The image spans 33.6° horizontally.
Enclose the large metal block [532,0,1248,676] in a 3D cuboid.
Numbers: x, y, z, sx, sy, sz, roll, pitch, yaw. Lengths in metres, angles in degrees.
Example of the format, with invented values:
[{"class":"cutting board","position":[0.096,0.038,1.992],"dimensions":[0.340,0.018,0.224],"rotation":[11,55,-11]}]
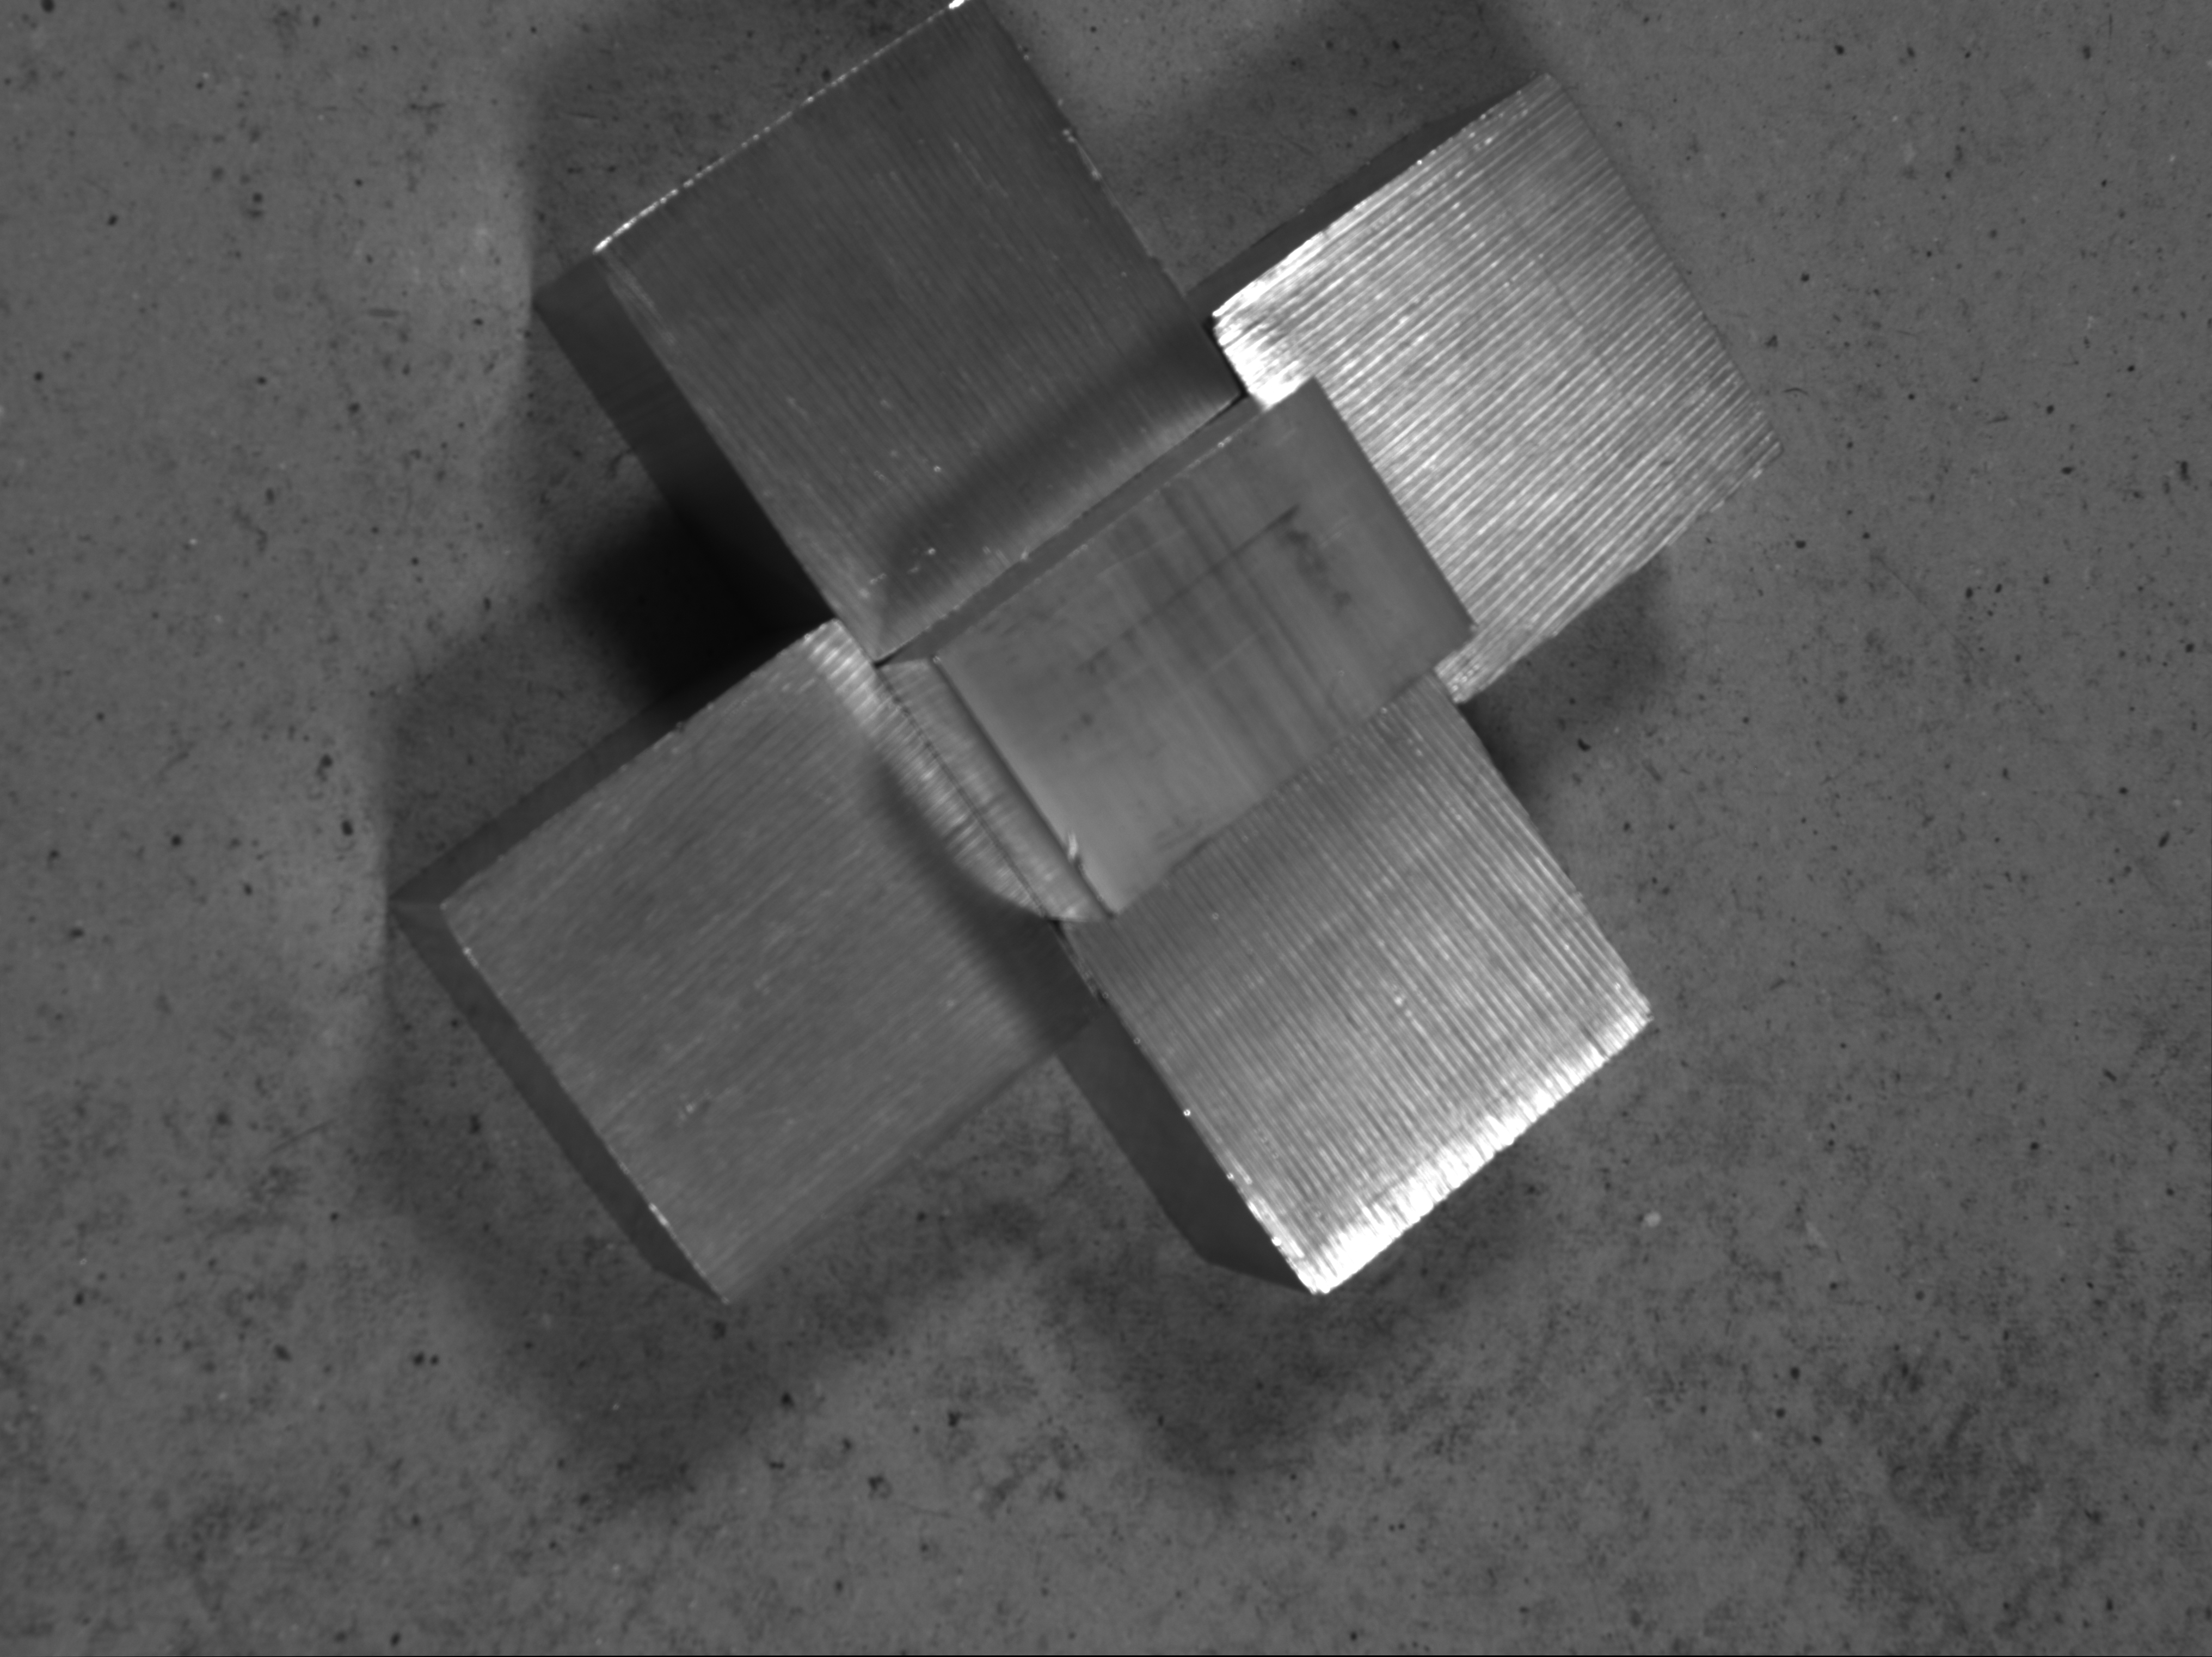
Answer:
[{"class":"large metal block","position":[-0.036,-0.081,0.616],"dimensions":[0.080,0.050,0.080],"rotation":[-38,102,-16]}]

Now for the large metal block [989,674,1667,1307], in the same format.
[{"class":"large metal block","position":[0.037,0.025,0.643],"dimensions":[0.080,0.050,0.080],"rotation":[-38,102,-16]}]

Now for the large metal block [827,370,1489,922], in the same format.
[{"class":"large metal block","position":[0.004,-0.029,0.616],"dimensions":[0.080,0.080,0.050],"rotation":[-38,102,-16]}]

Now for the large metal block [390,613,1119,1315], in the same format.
[{"class":"large metal block","position":[-0.059,0.021,0.608],"dimensions":[0.080,0.050,0.080],"rotation":[-38,102,-16]}]

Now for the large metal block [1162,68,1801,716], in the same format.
[{"class":"large metal block","position":[0.062,-0.075,0.652],"dimensions":[0.080,0.050,0.080],"rotation":[-38,102,-16]}]
